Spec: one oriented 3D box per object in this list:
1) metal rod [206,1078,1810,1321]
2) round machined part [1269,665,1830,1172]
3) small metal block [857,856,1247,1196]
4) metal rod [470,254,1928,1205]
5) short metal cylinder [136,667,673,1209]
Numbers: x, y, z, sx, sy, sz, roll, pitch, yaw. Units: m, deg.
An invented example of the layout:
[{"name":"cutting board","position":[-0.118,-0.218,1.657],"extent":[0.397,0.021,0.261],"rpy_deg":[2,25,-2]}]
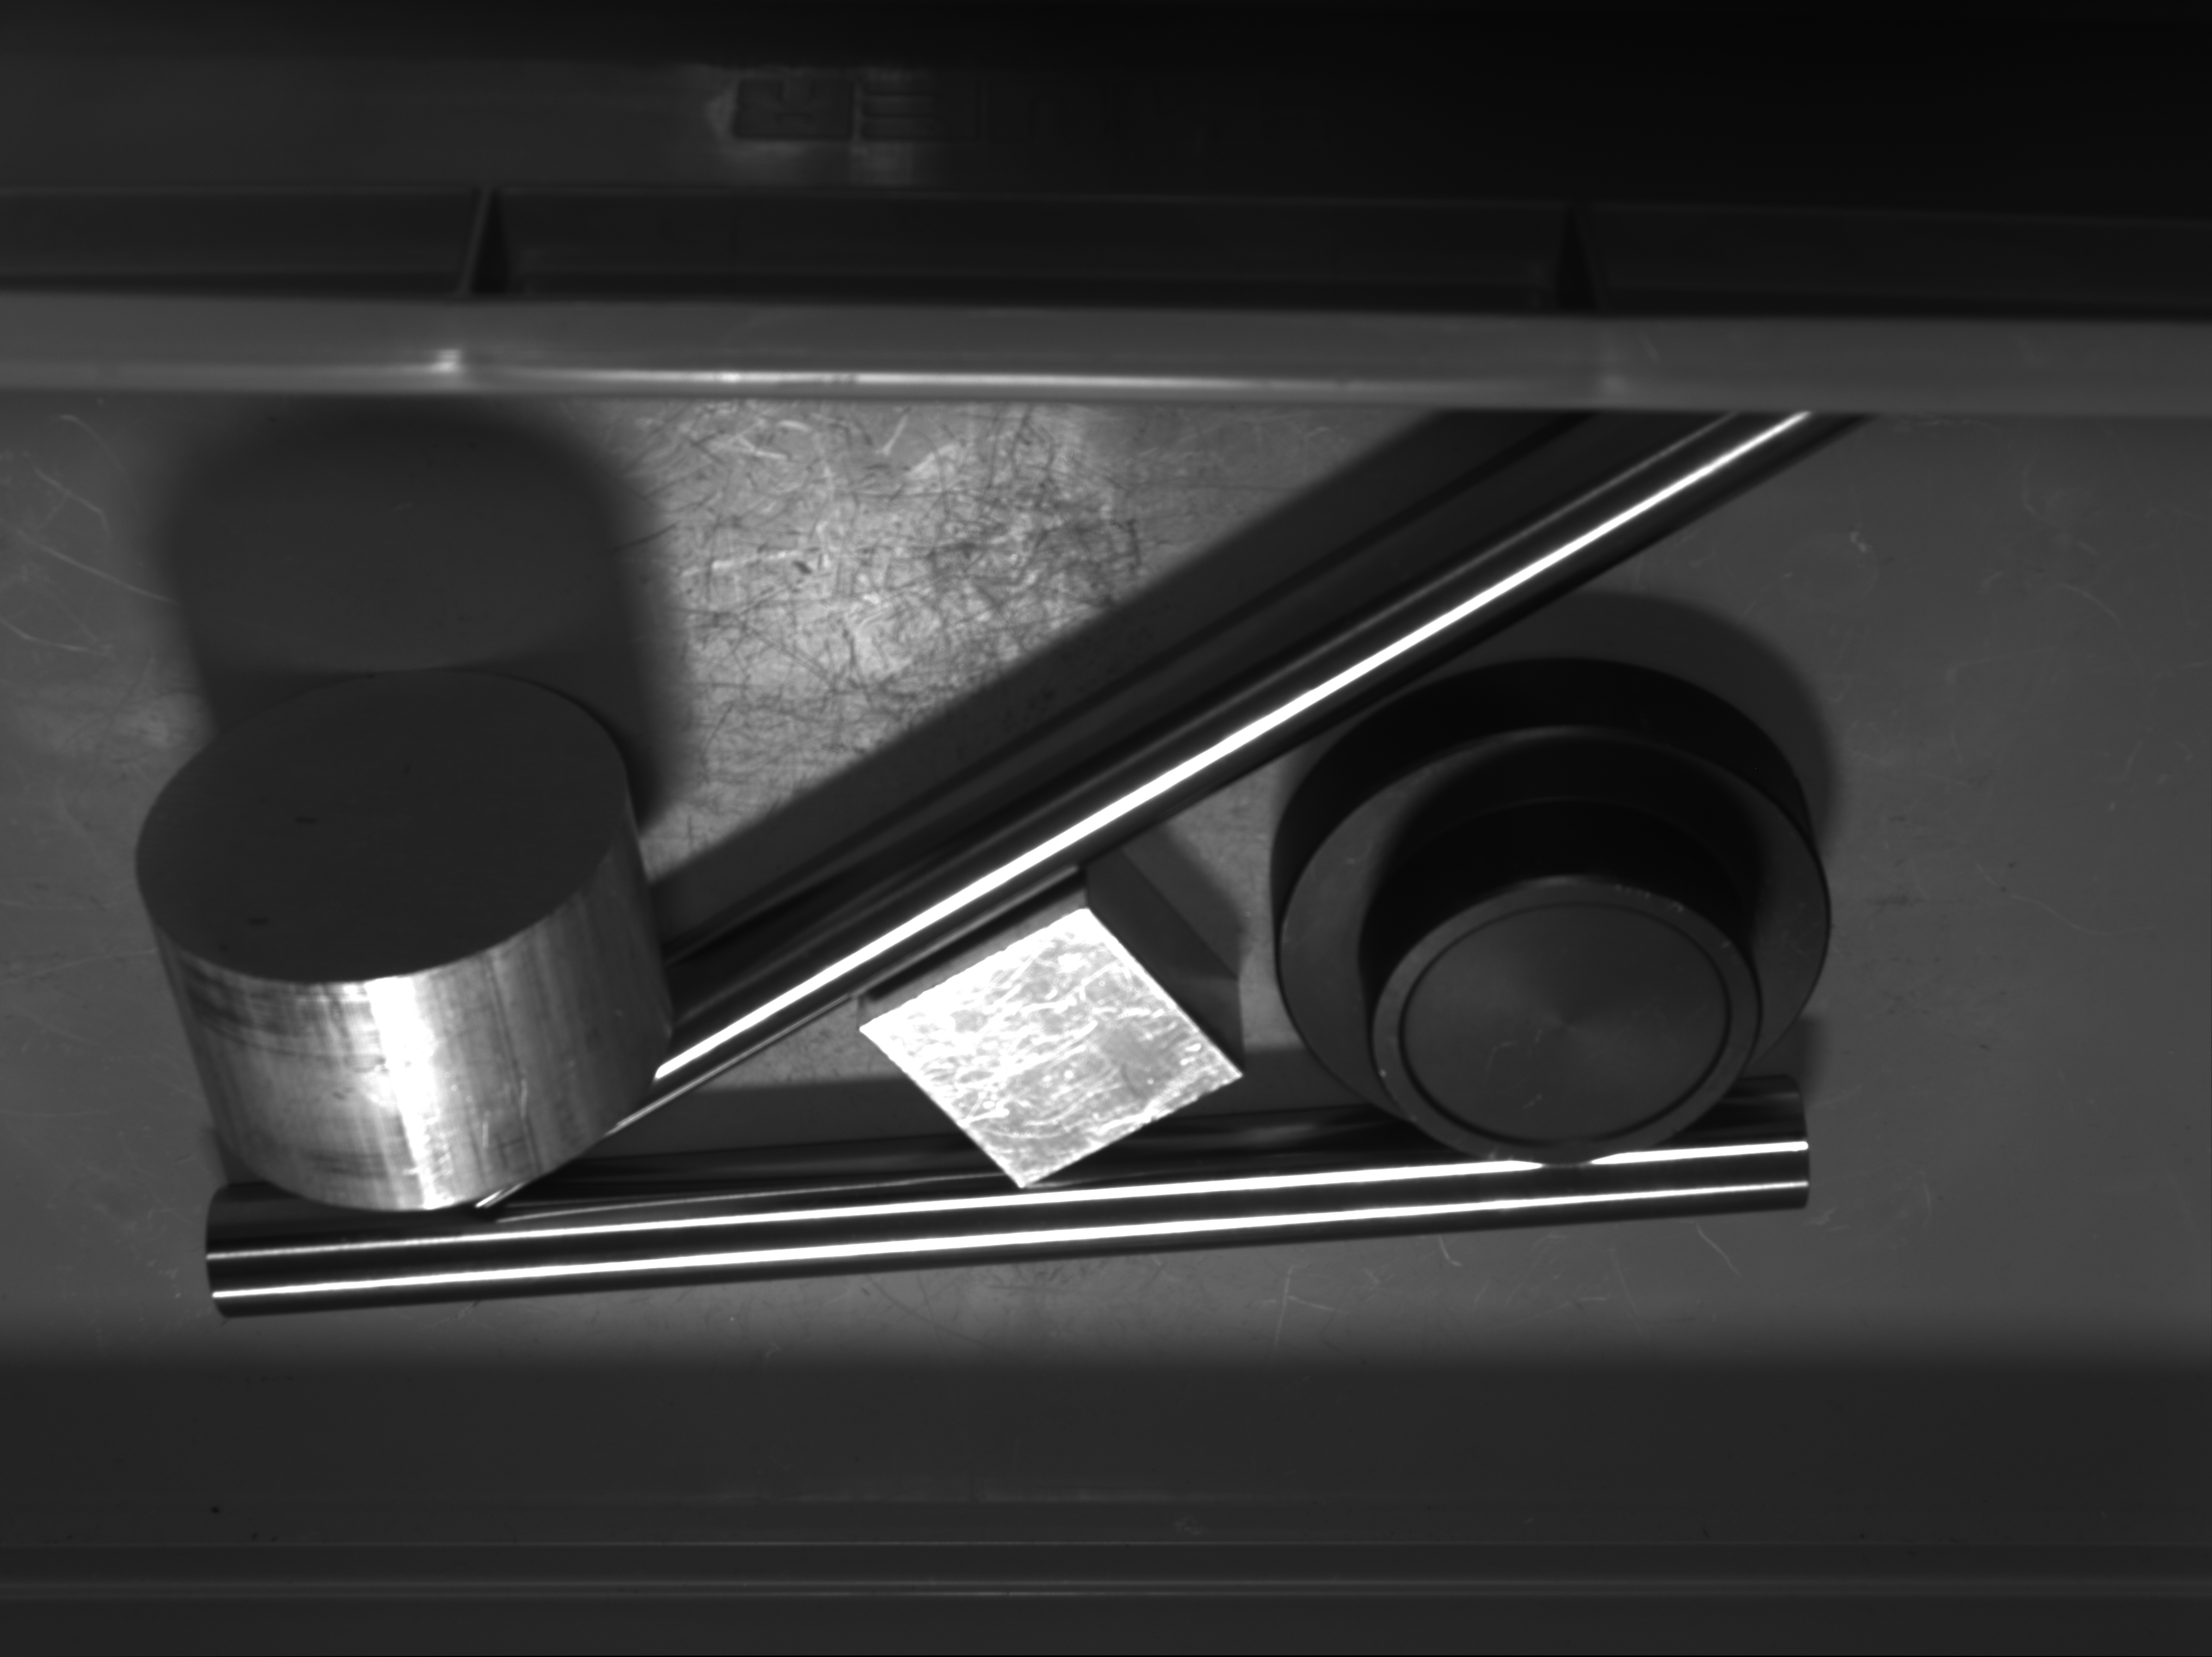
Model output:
[{"name":"metal rod","position":[-0.019,0.070,0.695],"extent":[0.300,0.025,0.025],"rpy_deg":[-4,130,2]},{"name":"round machined part","position":[0.079,0.022,0.645],"extent":[0.098,0.042,0.098],"rpy_deg":[-1,130,-1]},{"name":"small metal block","position":[-0.010,0.033,0.663],"extent":[0.050,0.025,0.050],"rpy_deg":[-29,125,20]},{"name":"metal rod","position":[0.001,-0.010,0.628],"extent":[0.300,0.025,0.025],"rpy_deg":[-30,125,21]},{"name":"short metal cylinder","position":[-0.116,0.017,0.613],"extent":[0.080,0.080,0.050],"rpy_deg":[-4,130,1]}]
